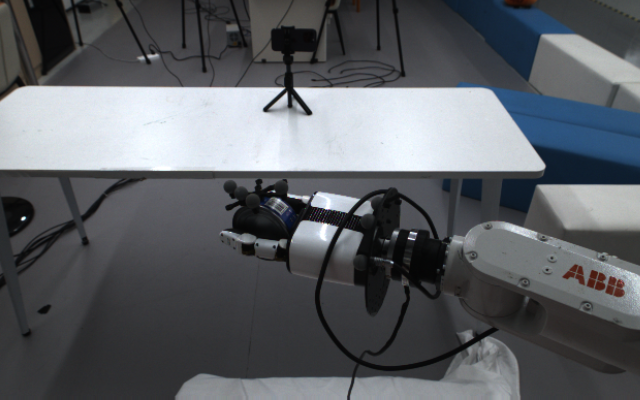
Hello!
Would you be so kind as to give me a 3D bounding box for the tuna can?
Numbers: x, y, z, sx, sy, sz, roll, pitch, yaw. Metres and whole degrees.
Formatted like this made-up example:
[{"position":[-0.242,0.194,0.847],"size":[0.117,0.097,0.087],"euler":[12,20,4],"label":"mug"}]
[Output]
[{"position":[-0.067,0.035,0.633],"size":[0.085,0.085,0.034],"euler":[17,36,20],"label":"tuna can"}]
